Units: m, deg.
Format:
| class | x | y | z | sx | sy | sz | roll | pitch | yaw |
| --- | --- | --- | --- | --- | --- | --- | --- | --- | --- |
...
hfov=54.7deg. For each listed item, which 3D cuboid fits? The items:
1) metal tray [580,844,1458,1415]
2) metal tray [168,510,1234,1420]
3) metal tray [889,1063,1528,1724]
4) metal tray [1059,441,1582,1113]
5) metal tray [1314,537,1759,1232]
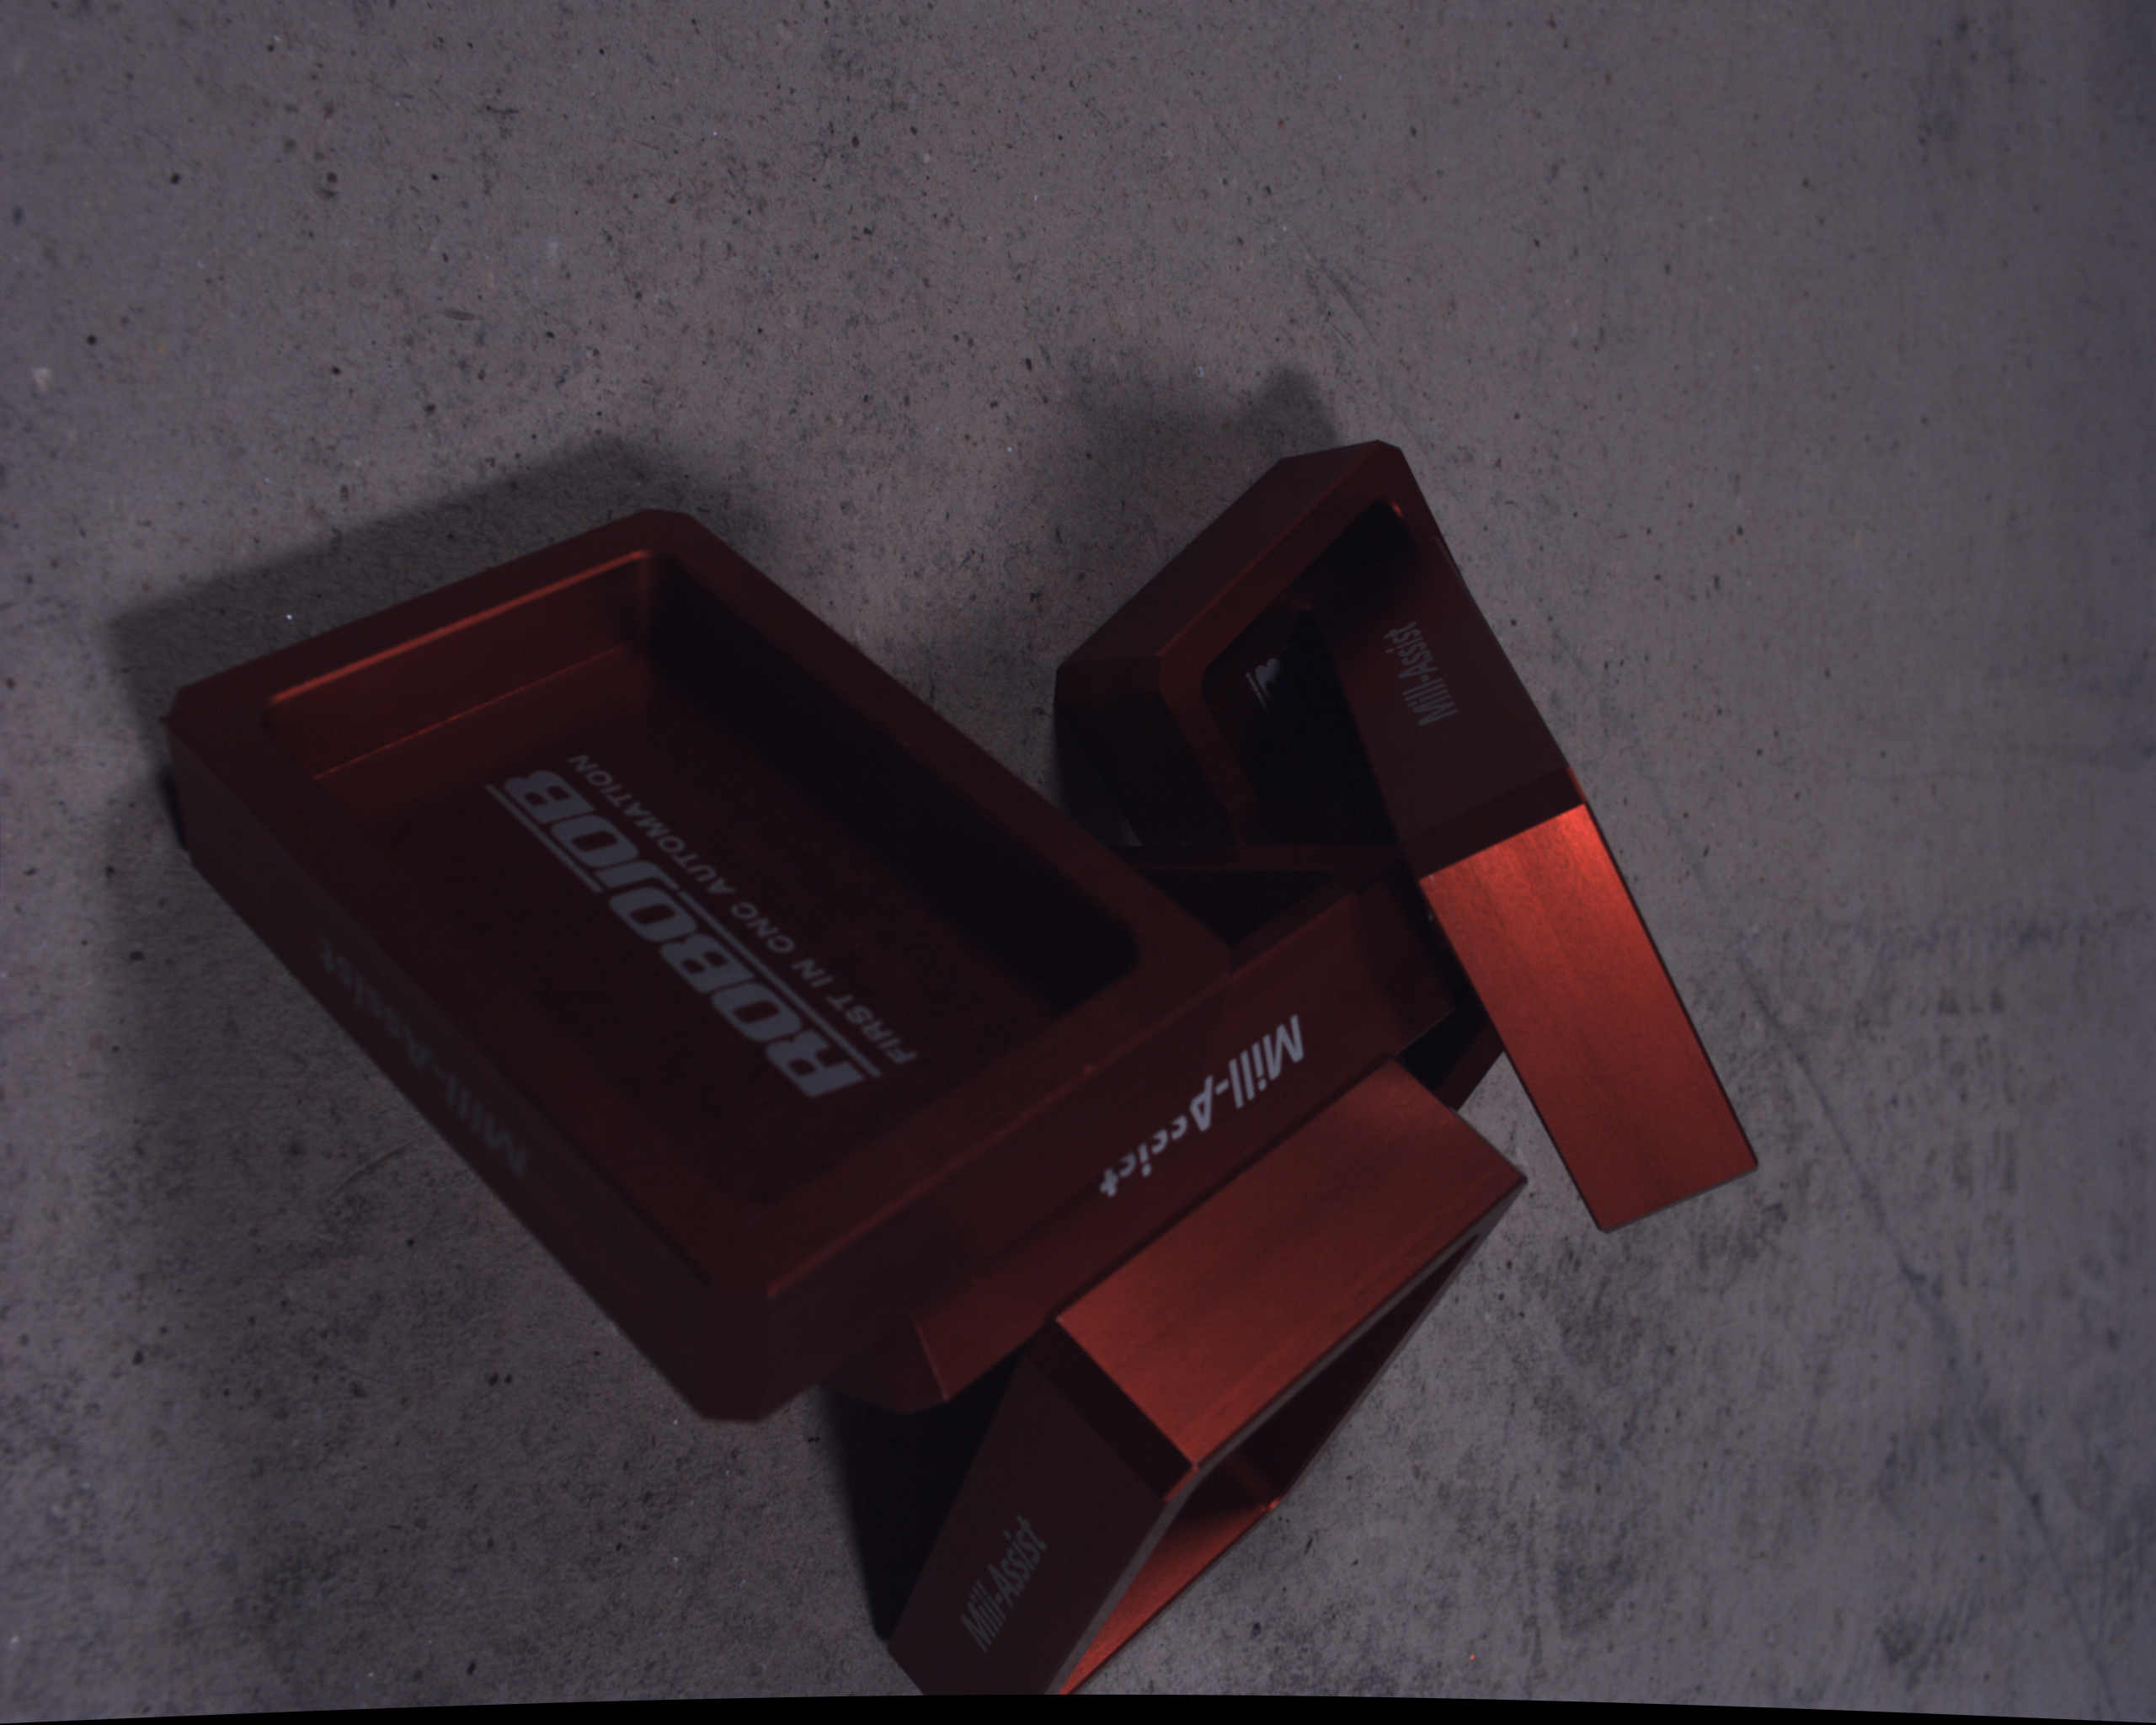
| class | x | y | z | sx | sy | sz | roll | pitch | yaw |
| --- | --- | --- | --- | --- | --- | --- | --- | --- | --- |
| metal tray | -0.009 | 0.037 | 0.358 | 0.131 | 0.090 | 0.030 | -31 | 110 | -36 |
| metal tray | -0.055 | 0.006 | 0.300 | 0.091 | 0.130 | 0.030 | -31 | 148 | -36 |
| metal tray | 0.020 | 0.100 | 0.368 | 0.091 | 0.030 | 0.129 | -31 | 154 | -35 |
| metal tray | 0.061 | -0.014 | 0.456 | 0.090 | 0.030 | 0.130 | -46 | 118 | -30 |
| metal tray | 0.085 | -0.001 | 0.407 | 0.090 | 0.030 | 0.130 | 59 | 12 | -24 |
